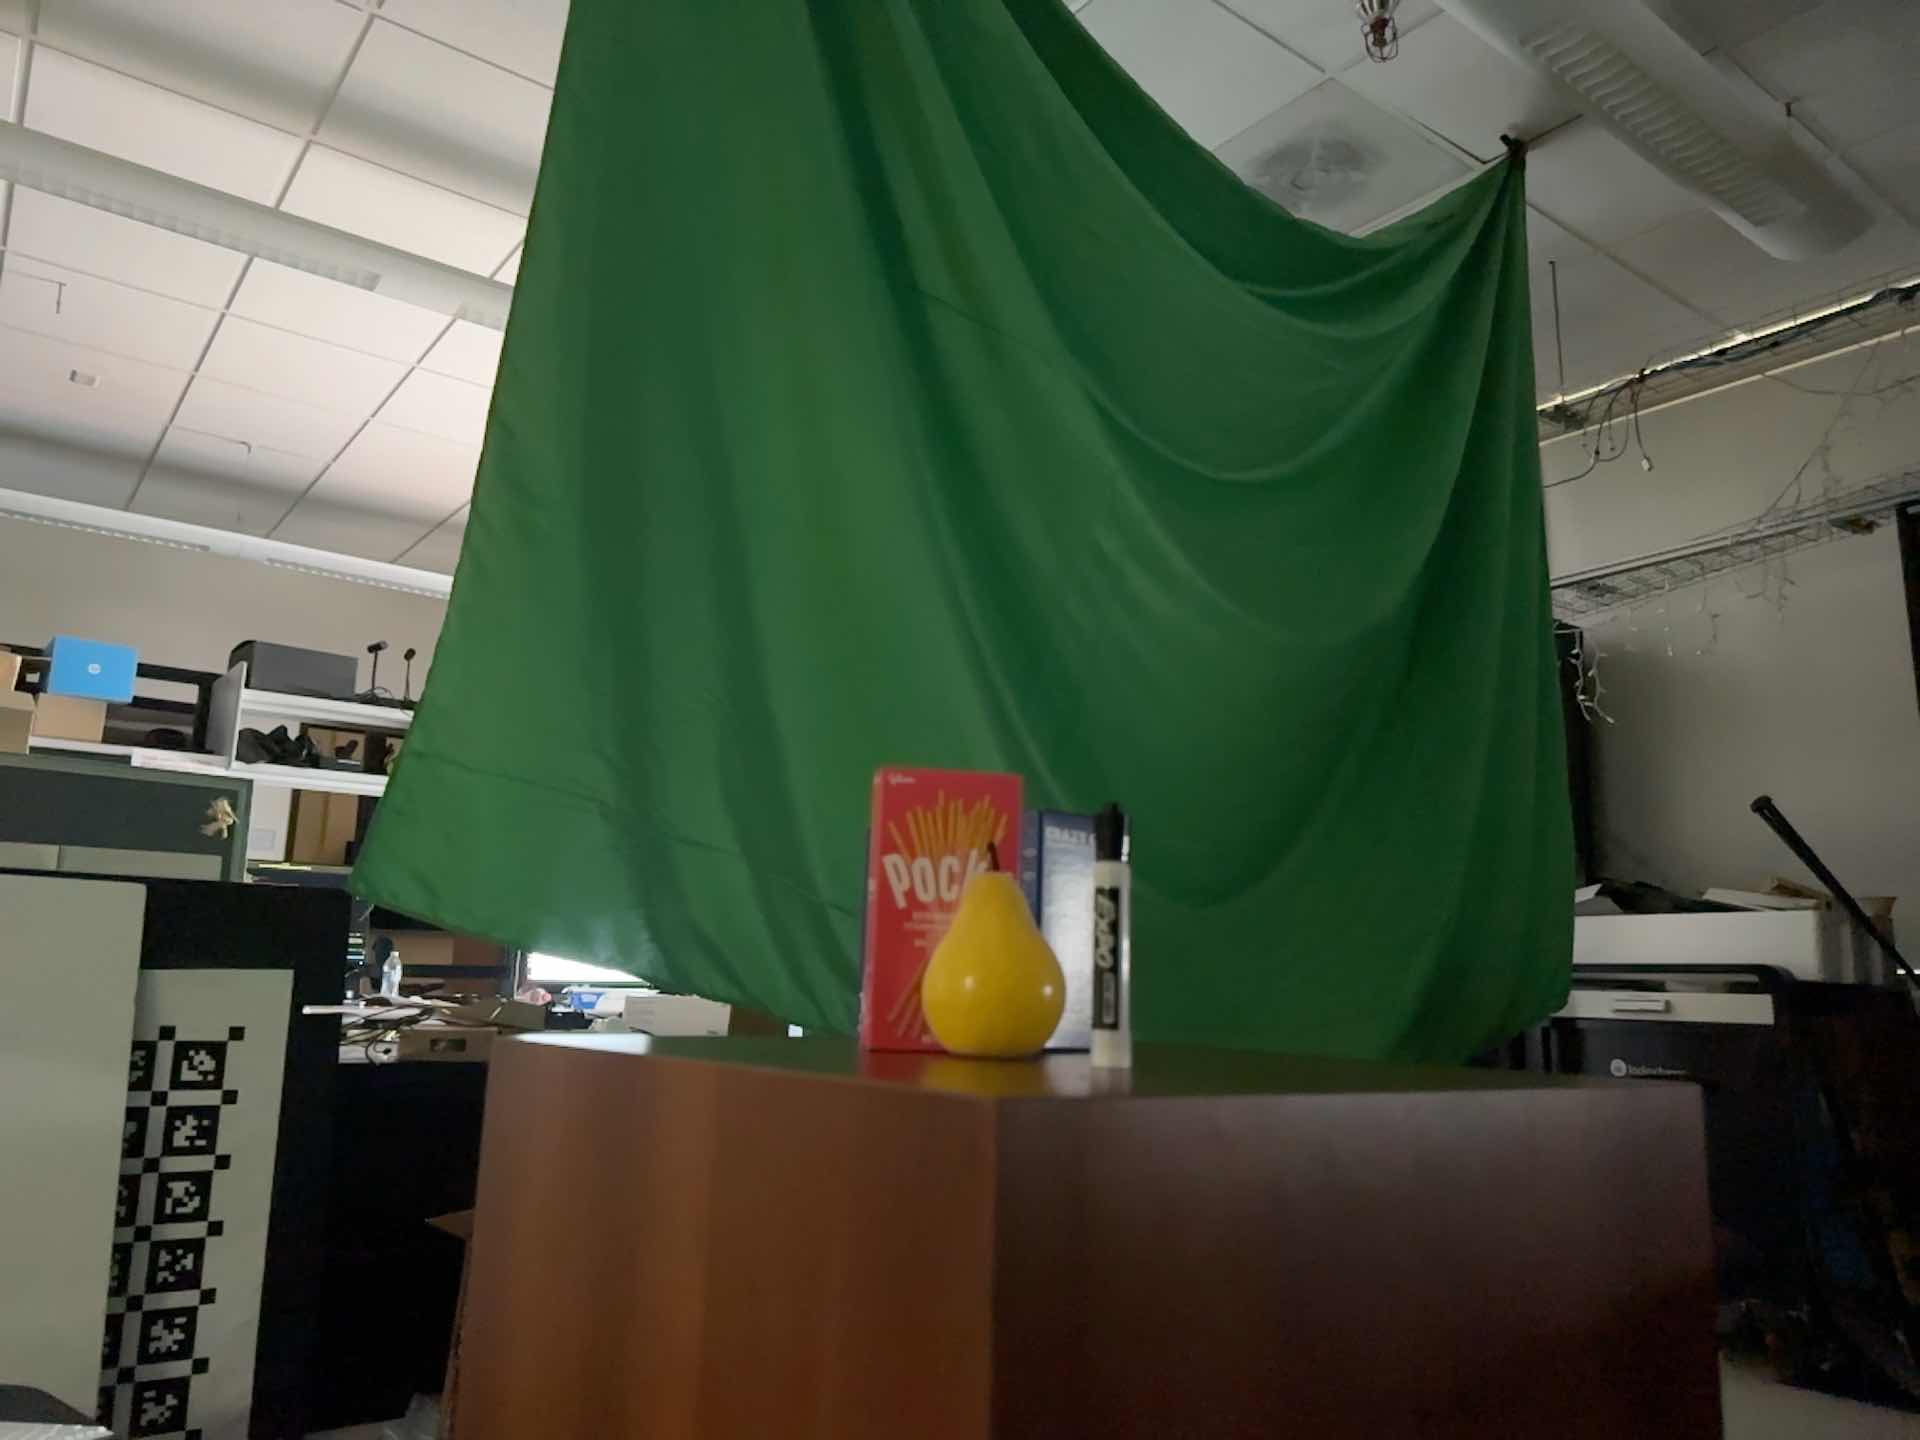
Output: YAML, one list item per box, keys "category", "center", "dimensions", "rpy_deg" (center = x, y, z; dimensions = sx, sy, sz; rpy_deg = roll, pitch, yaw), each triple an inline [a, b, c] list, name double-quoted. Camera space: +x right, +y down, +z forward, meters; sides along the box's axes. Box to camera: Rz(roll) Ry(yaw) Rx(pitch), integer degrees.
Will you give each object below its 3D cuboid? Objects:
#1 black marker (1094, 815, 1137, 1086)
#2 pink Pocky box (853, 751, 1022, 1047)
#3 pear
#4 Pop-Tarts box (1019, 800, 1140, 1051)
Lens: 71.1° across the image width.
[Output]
- category: "black marker"
  center: [0.071, 0.104, 0.614]
  dimensions: [0.020, 0.121, 0.020]
  rpy_deg: [1, -8, 0]
- category: "pink Pocky box"
  center: [-0.011, 0.095, 0.722]
  dimensions: [0.084, 0.155, 0.029]
  rpy_deg: [3, -7, -15]
- category: "pear"
  center: [0.017, 0.111, 0.672]
  dimensions: [0.080, 0.111, 0.080]
  rpy_deg: [3, -9, 0]
- category: "Pop-Tarts box"
  center: [0.021, 0.126, 0.830]
  dimensions: [0.075, 0.135, 0.161]
  rpy_deg: [11, -12, -39]
